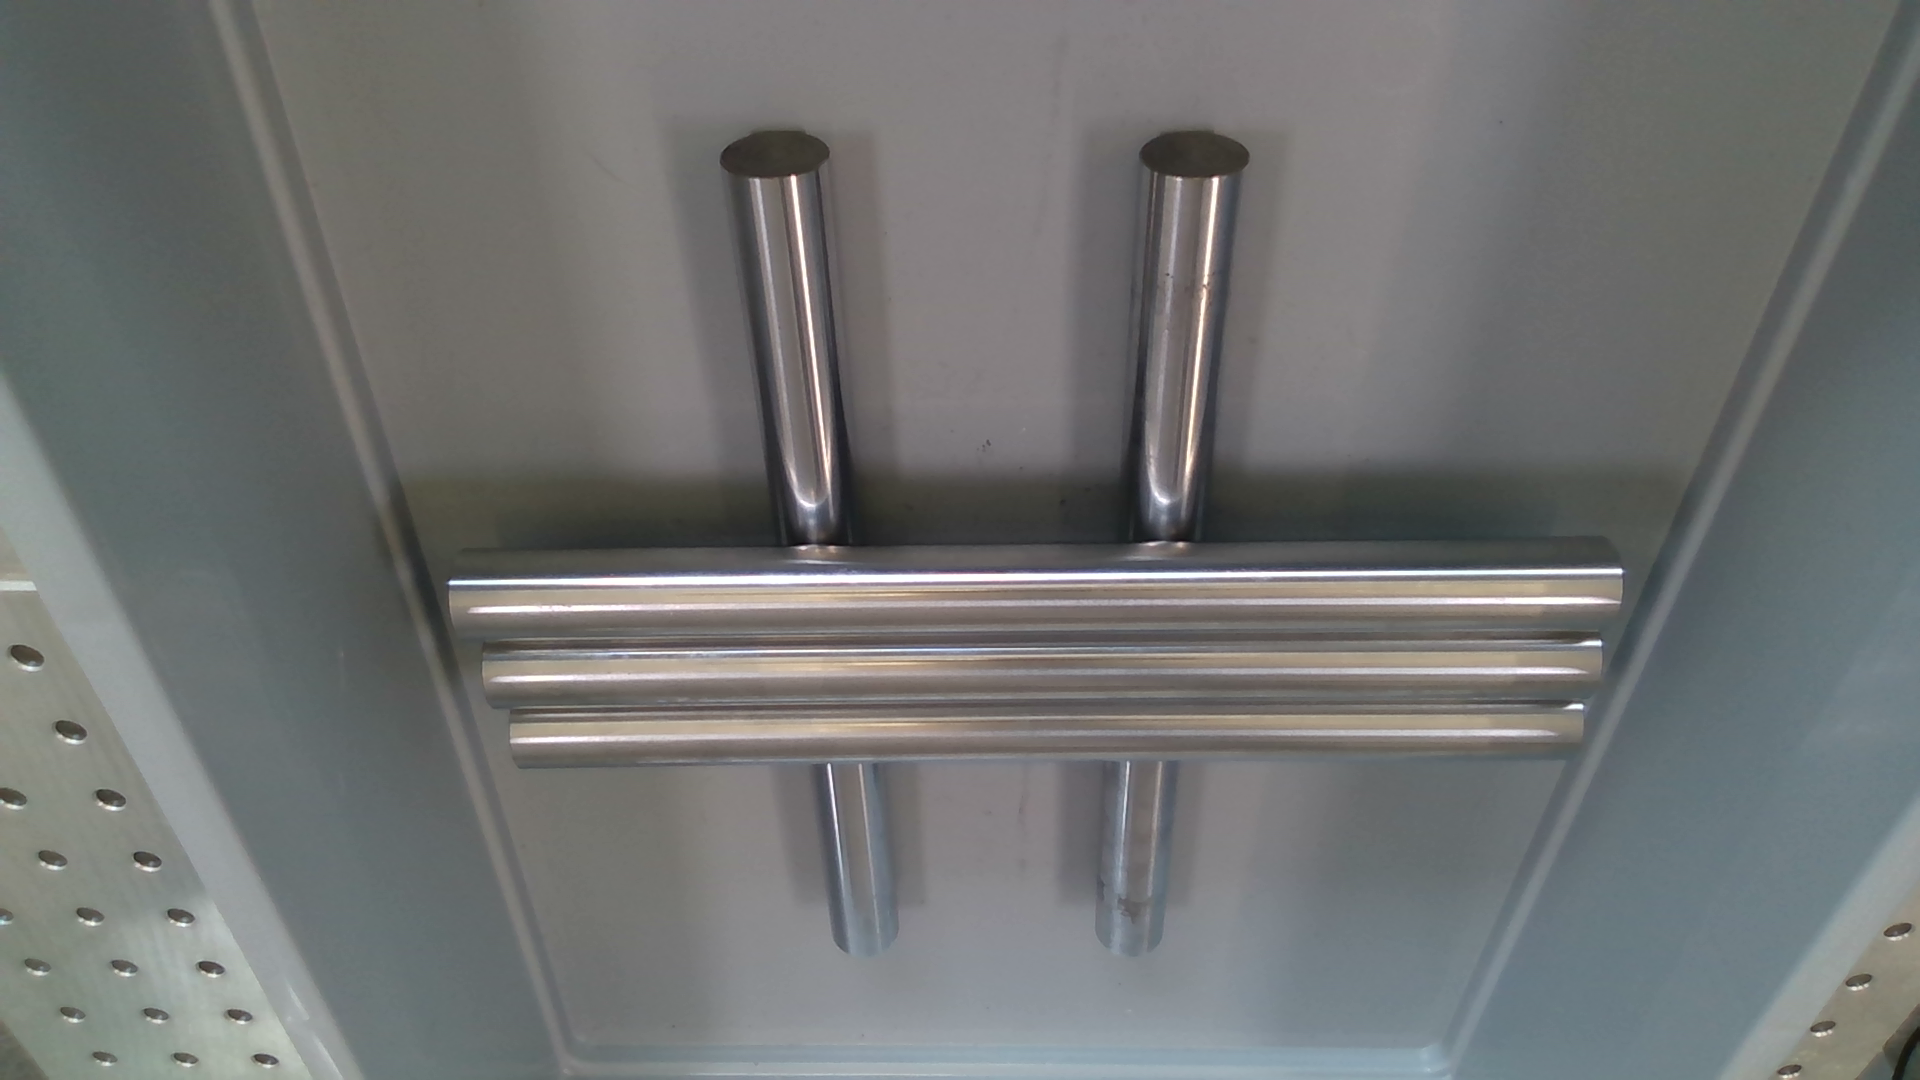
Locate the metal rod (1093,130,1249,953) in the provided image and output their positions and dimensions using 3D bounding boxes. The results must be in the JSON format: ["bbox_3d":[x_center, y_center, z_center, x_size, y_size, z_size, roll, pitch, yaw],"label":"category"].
[{"bbox_3d":[0.057,0.027,0.411,0.025,0.025,0.301,-1,130,1],"label":"metal rod"}]

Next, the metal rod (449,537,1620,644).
[{"bbox_3d":[0.019,0.013,0.365,0.300,0.025,0.025,-1,130,1],"label":"metal rod"}]

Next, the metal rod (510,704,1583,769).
[{"bbox_3d":[0.024,0.052,0.398,0.300,0.025,0.025,-1,130,1],"label":"metal rod"}]

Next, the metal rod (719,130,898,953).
[{"bbox_3d":[-0.039,0.027,0.411,0.025,0.025,0.301,-1,130,1],"label":"metal rod"}]

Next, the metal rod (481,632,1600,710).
[{"bbox_3d":[0.021,0.033,0.382,0.300,0.025,0.025,-1,130,1],"label":"metal rod"}]
